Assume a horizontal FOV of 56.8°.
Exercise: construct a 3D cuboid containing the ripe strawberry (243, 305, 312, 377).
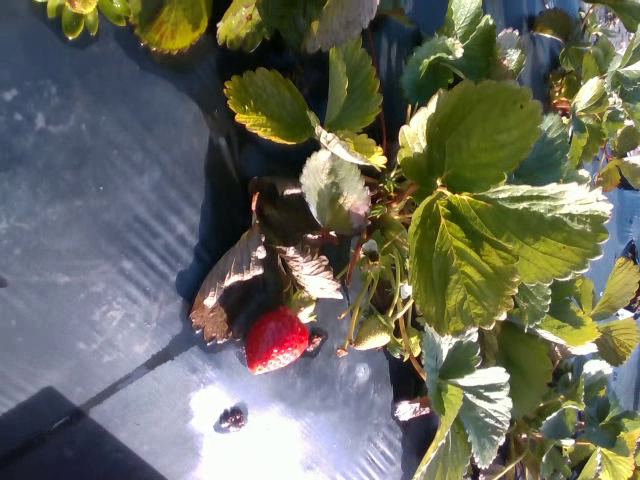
[{"bbox_3d":[-0.029,0.058,0.293,0.037,0.047,0.054,15,37,31],"label":"ripe strawberry"}]
